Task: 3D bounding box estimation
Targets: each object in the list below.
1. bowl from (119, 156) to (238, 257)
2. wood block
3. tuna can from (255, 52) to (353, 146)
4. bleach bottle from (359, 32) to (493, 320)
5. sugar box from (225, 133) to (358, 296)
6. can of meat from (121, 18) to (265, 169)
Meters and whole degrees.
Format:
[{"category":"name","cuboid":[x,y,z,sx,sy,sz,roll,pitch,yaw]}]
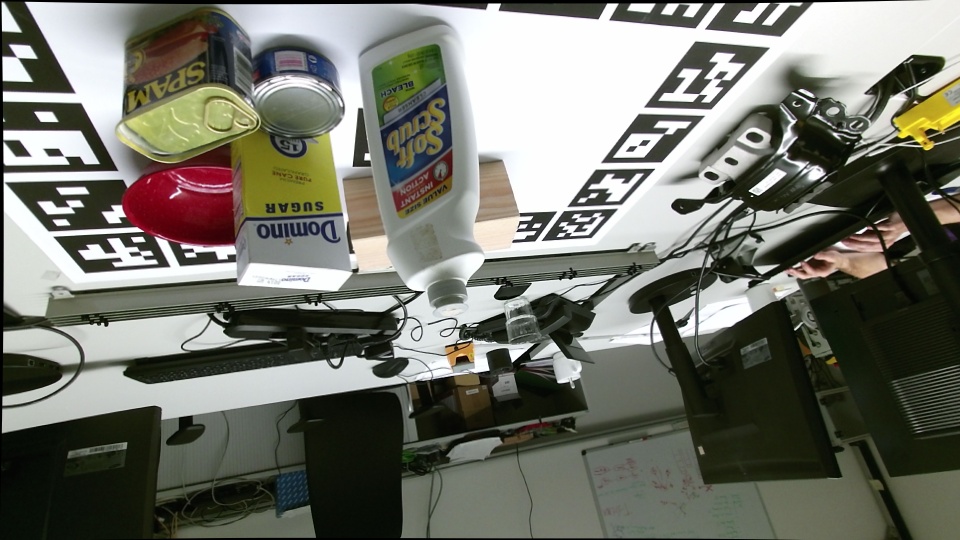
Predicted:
[{"category":"bowl","cuboid":[-0.292,-0.074,0.574,0.162,0.055,0.162,-15,159,-6]},{"category":"wood block","cuboid":[-0.057,-0.065,0.693,0.207,0.089,0.091,-9,152,-10]},{"category":"tuna can","cuboid":[-0.160,-0.154,0.487,0.086,0.033,0.086,-13,154,-6]},{"category":"bleach bottle","cuboid":[-0.036,-0.081,0.459,0.103,0.249,0.068,-17,158,4]},{"category":"sugar box","cuboid":[-0.181,-0.062,0.505,0.093,0.175,0.045,1,151,-40]},{"category":"can of meat","cuboid":[-0.230,-0.141,0.430,0.102,0.083,0.058,-17,160,9]}]
